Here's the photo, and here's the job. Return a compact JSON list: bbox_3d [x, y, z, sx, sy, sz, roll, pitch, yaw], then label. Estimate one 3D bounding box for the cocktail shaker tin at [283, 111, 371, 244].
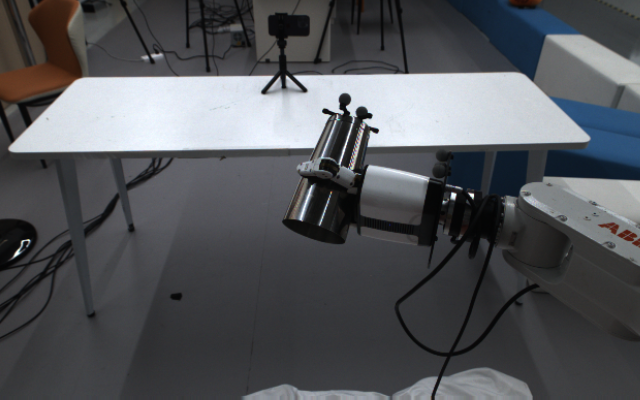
[{"bbox_3d":[0.016,-0.032,0.688,0.093,0.093,0.170,14,73,17],"label":"cocktail shaker tin"}]
